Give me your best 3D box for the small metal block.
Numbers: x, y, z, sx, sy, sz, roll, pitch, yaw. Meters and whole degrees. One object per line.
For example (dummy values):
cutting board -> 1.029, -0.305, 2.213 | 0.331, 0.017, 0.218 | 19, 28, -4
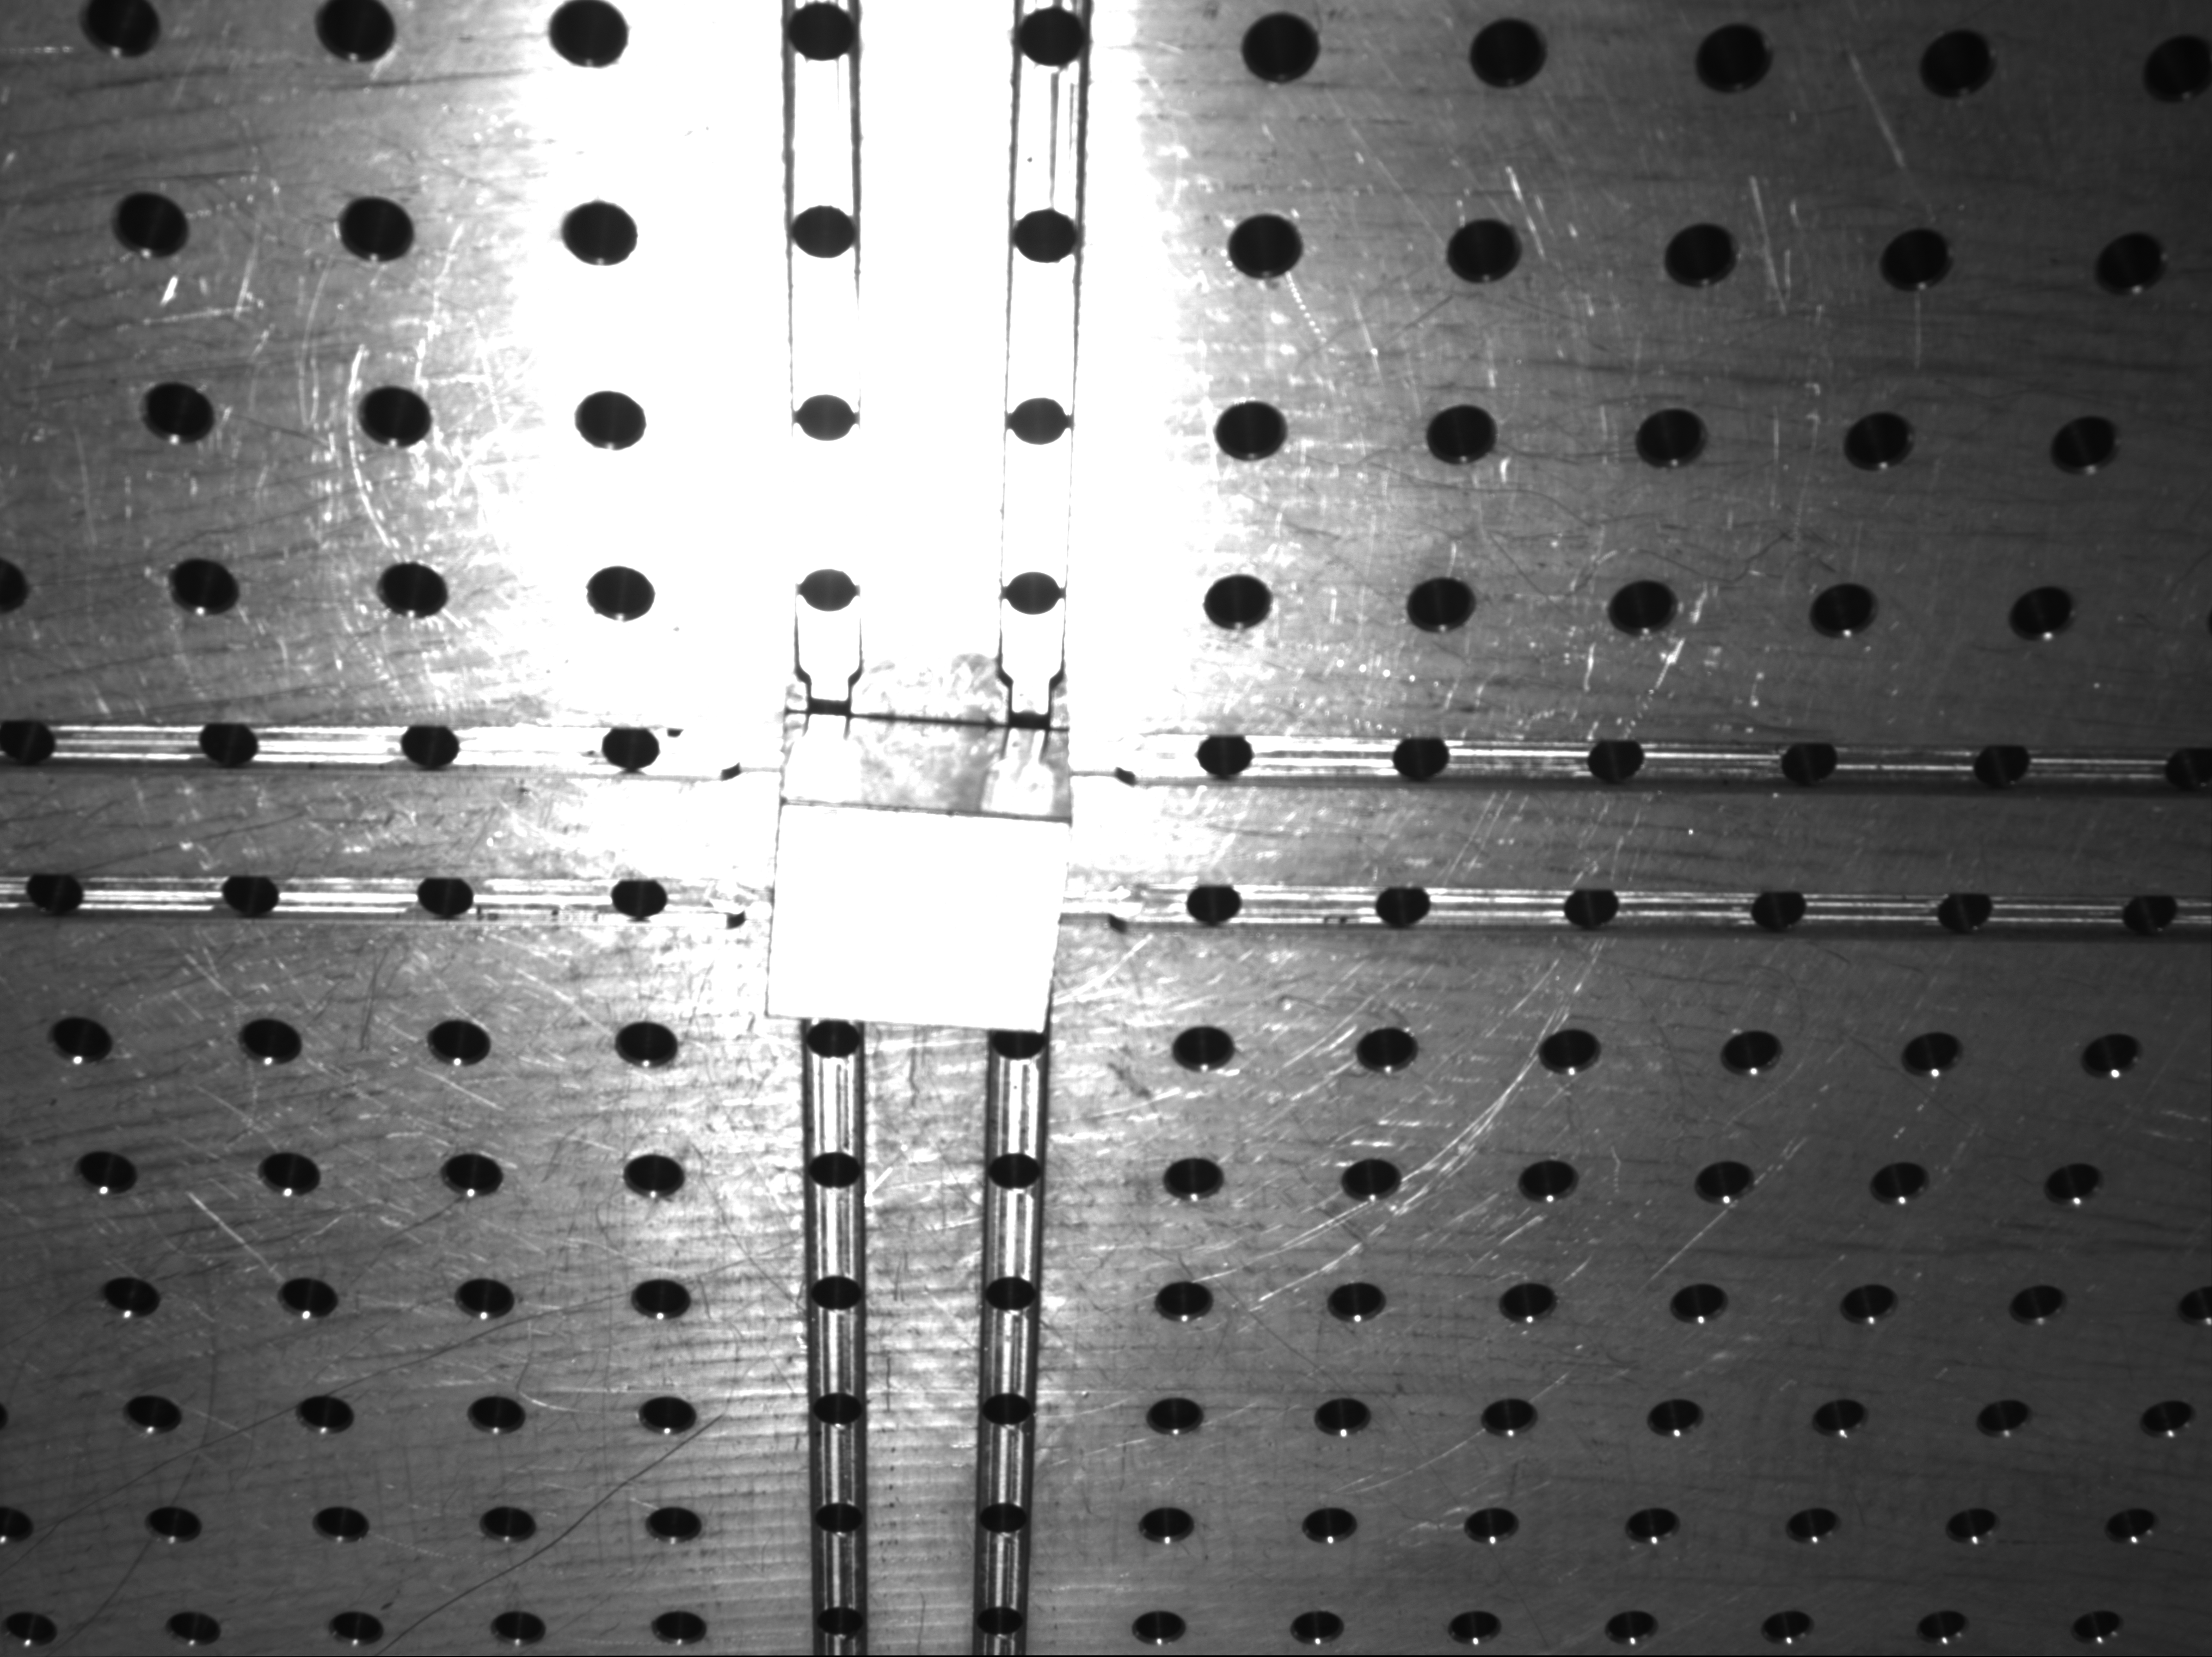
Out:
small metal block -> -0.026, 0.009, 0.647 | 0.050, 0.025, 0.050 | 4, 130, -5
